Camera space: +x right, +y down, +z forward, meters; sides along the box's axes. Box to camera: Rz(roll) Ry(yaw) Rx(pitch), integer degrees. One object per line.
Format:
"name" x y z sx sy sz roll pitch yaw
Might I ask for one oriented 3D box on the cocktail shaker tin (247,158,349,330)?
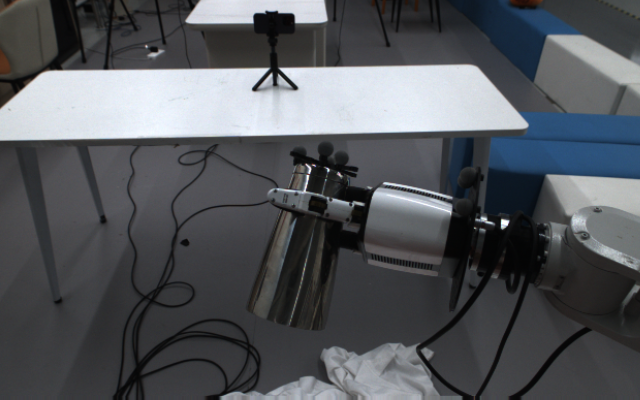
"cocktail shaker tin" -0.016 0.048 0.550 0.093 0.170 0.093 15 -5 1
